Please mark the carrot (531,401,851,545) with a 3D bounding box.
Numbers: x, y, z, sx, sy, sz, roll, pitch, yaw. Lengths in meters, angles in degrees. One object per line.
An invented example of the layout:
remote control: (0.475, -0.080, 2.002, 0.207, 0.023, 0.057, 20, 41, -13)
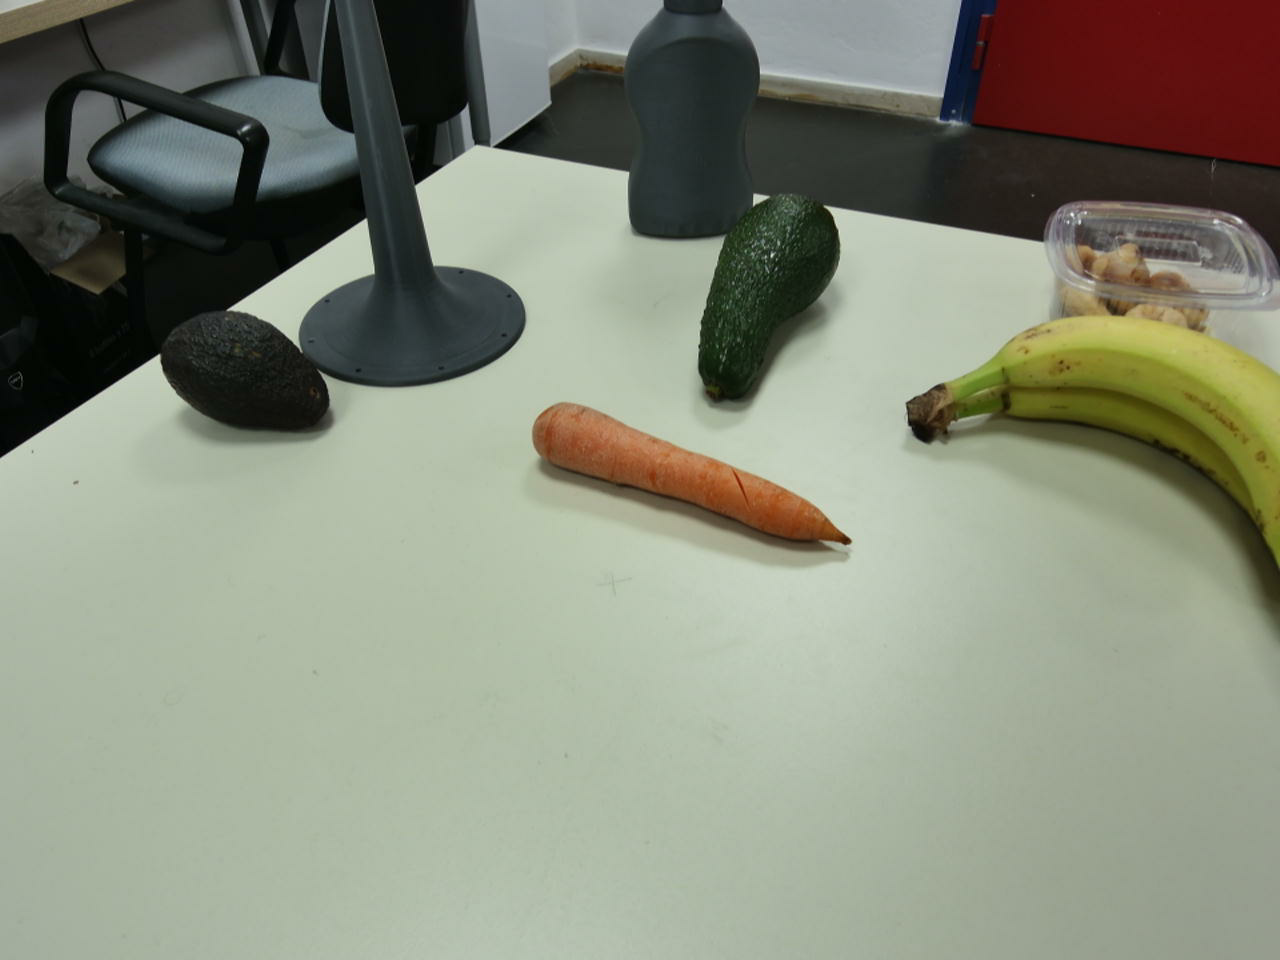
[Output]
carrot: (0.027, -0.005, 0.564, 0.196, 0.041, 0.039, 17, 41, 20)
